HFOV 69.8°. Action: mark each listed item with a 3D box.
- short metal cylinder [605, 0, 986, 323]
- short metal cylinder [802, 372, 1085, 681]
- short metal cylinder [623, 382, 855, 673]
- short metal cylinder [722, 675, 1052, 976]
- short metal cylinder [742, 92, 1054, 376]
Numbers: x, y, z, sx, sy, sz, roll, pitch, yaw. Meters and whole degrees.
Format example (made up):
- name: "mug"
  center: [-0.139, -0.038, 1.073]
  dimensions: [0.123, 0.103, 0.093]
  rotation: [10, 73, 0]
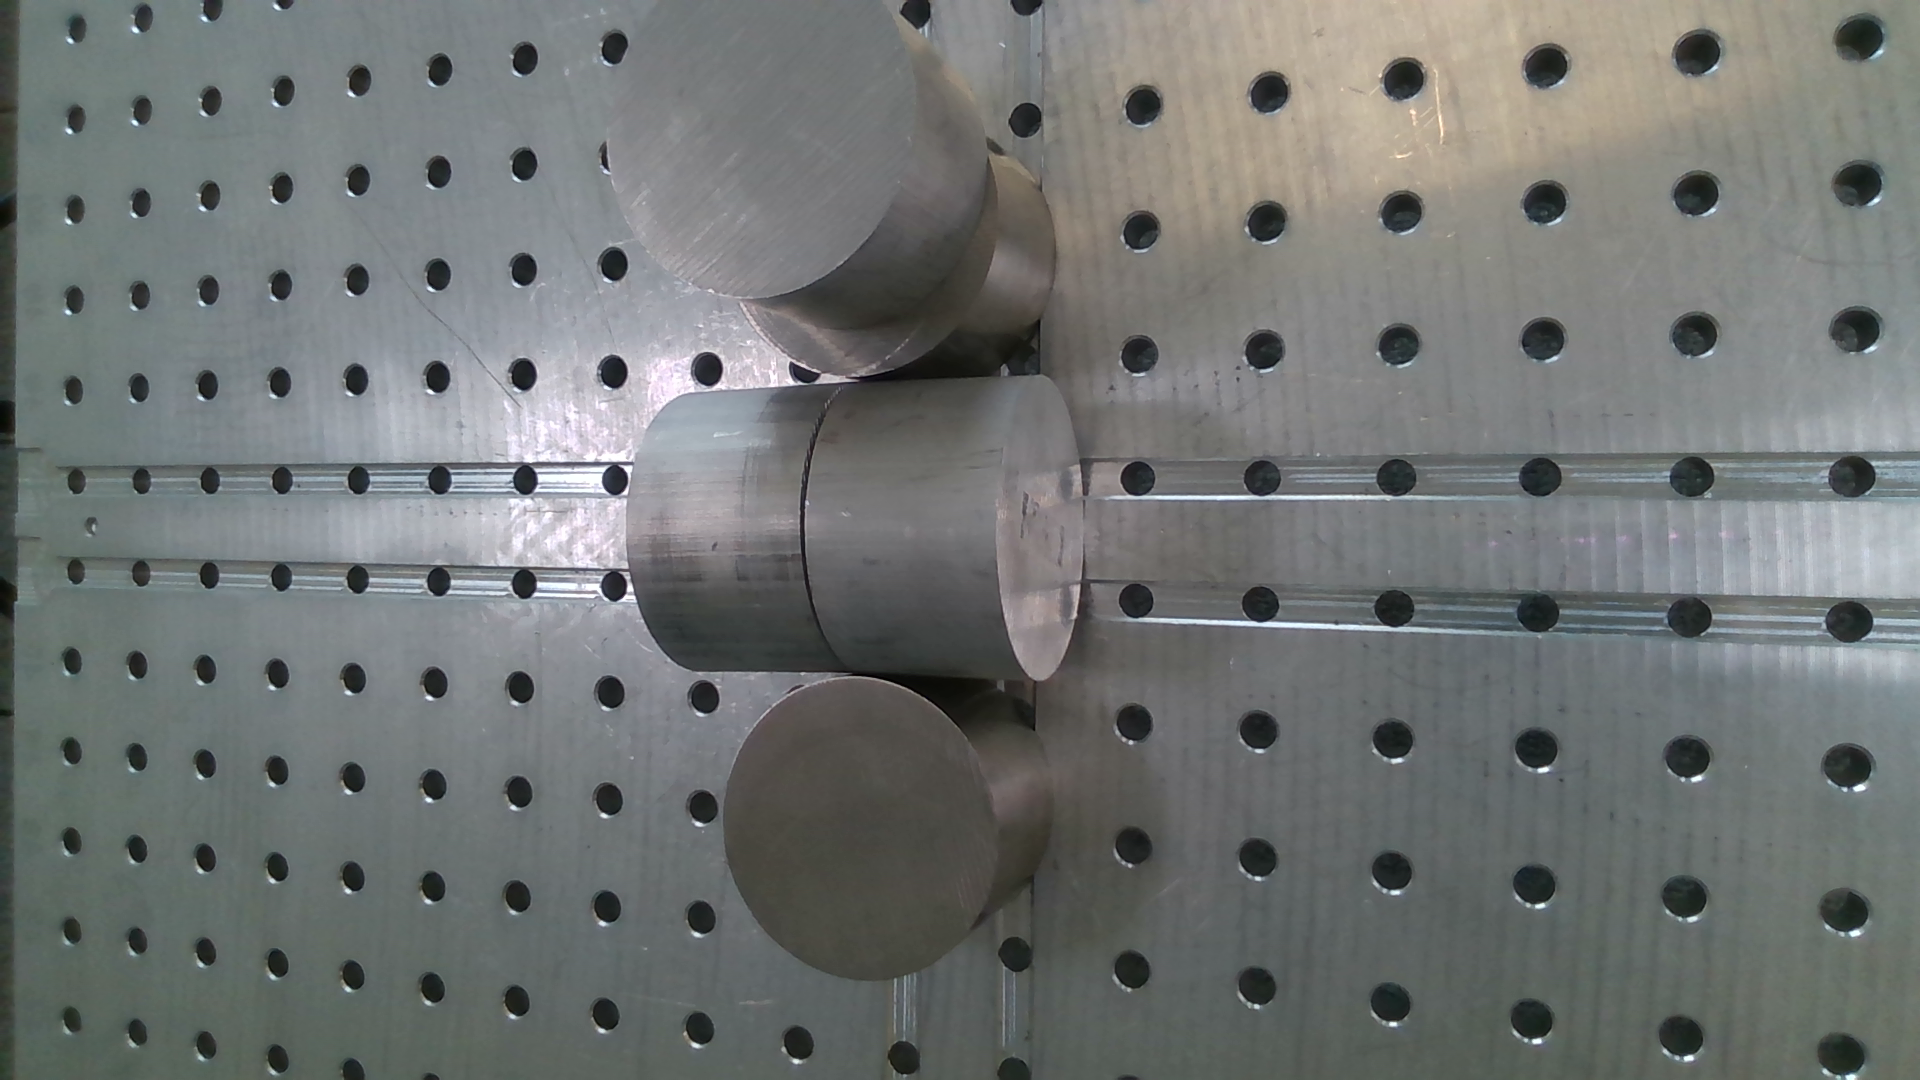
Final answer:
- name: "short metal cylinder"
  center: [-0.040, -0.097, 0.342]
  dimensions: [0.080, 0.050, 0.080]
  rotation: [0, 90, 20]
- name: "short metal cylinder"
  center: [-0.001, -0.004, 0.368]
  dimensions: [0.050, 0.080, 0.080]
  rotation: [1, 91, 21]
- name: "short metal cylinder"
  center: [-0.050, -0.003, 0.385]
  dimensions: [0.050, 0.080, 0.080]
  rotation: [-1, 90, 20]
- name: "short metal cylinder"
  center: [-0.020, 0.076, 0.390]
  dimensions: [0.080, 0.050, 0.080]
  rotation: [0, 91, 20]
- name: "short metal cylinder"
  center: [-0.019, -0.084, 0.389]
  dimensions: [0.080, 0.050, 0.080]
  rotation: [0, 91, 20]
